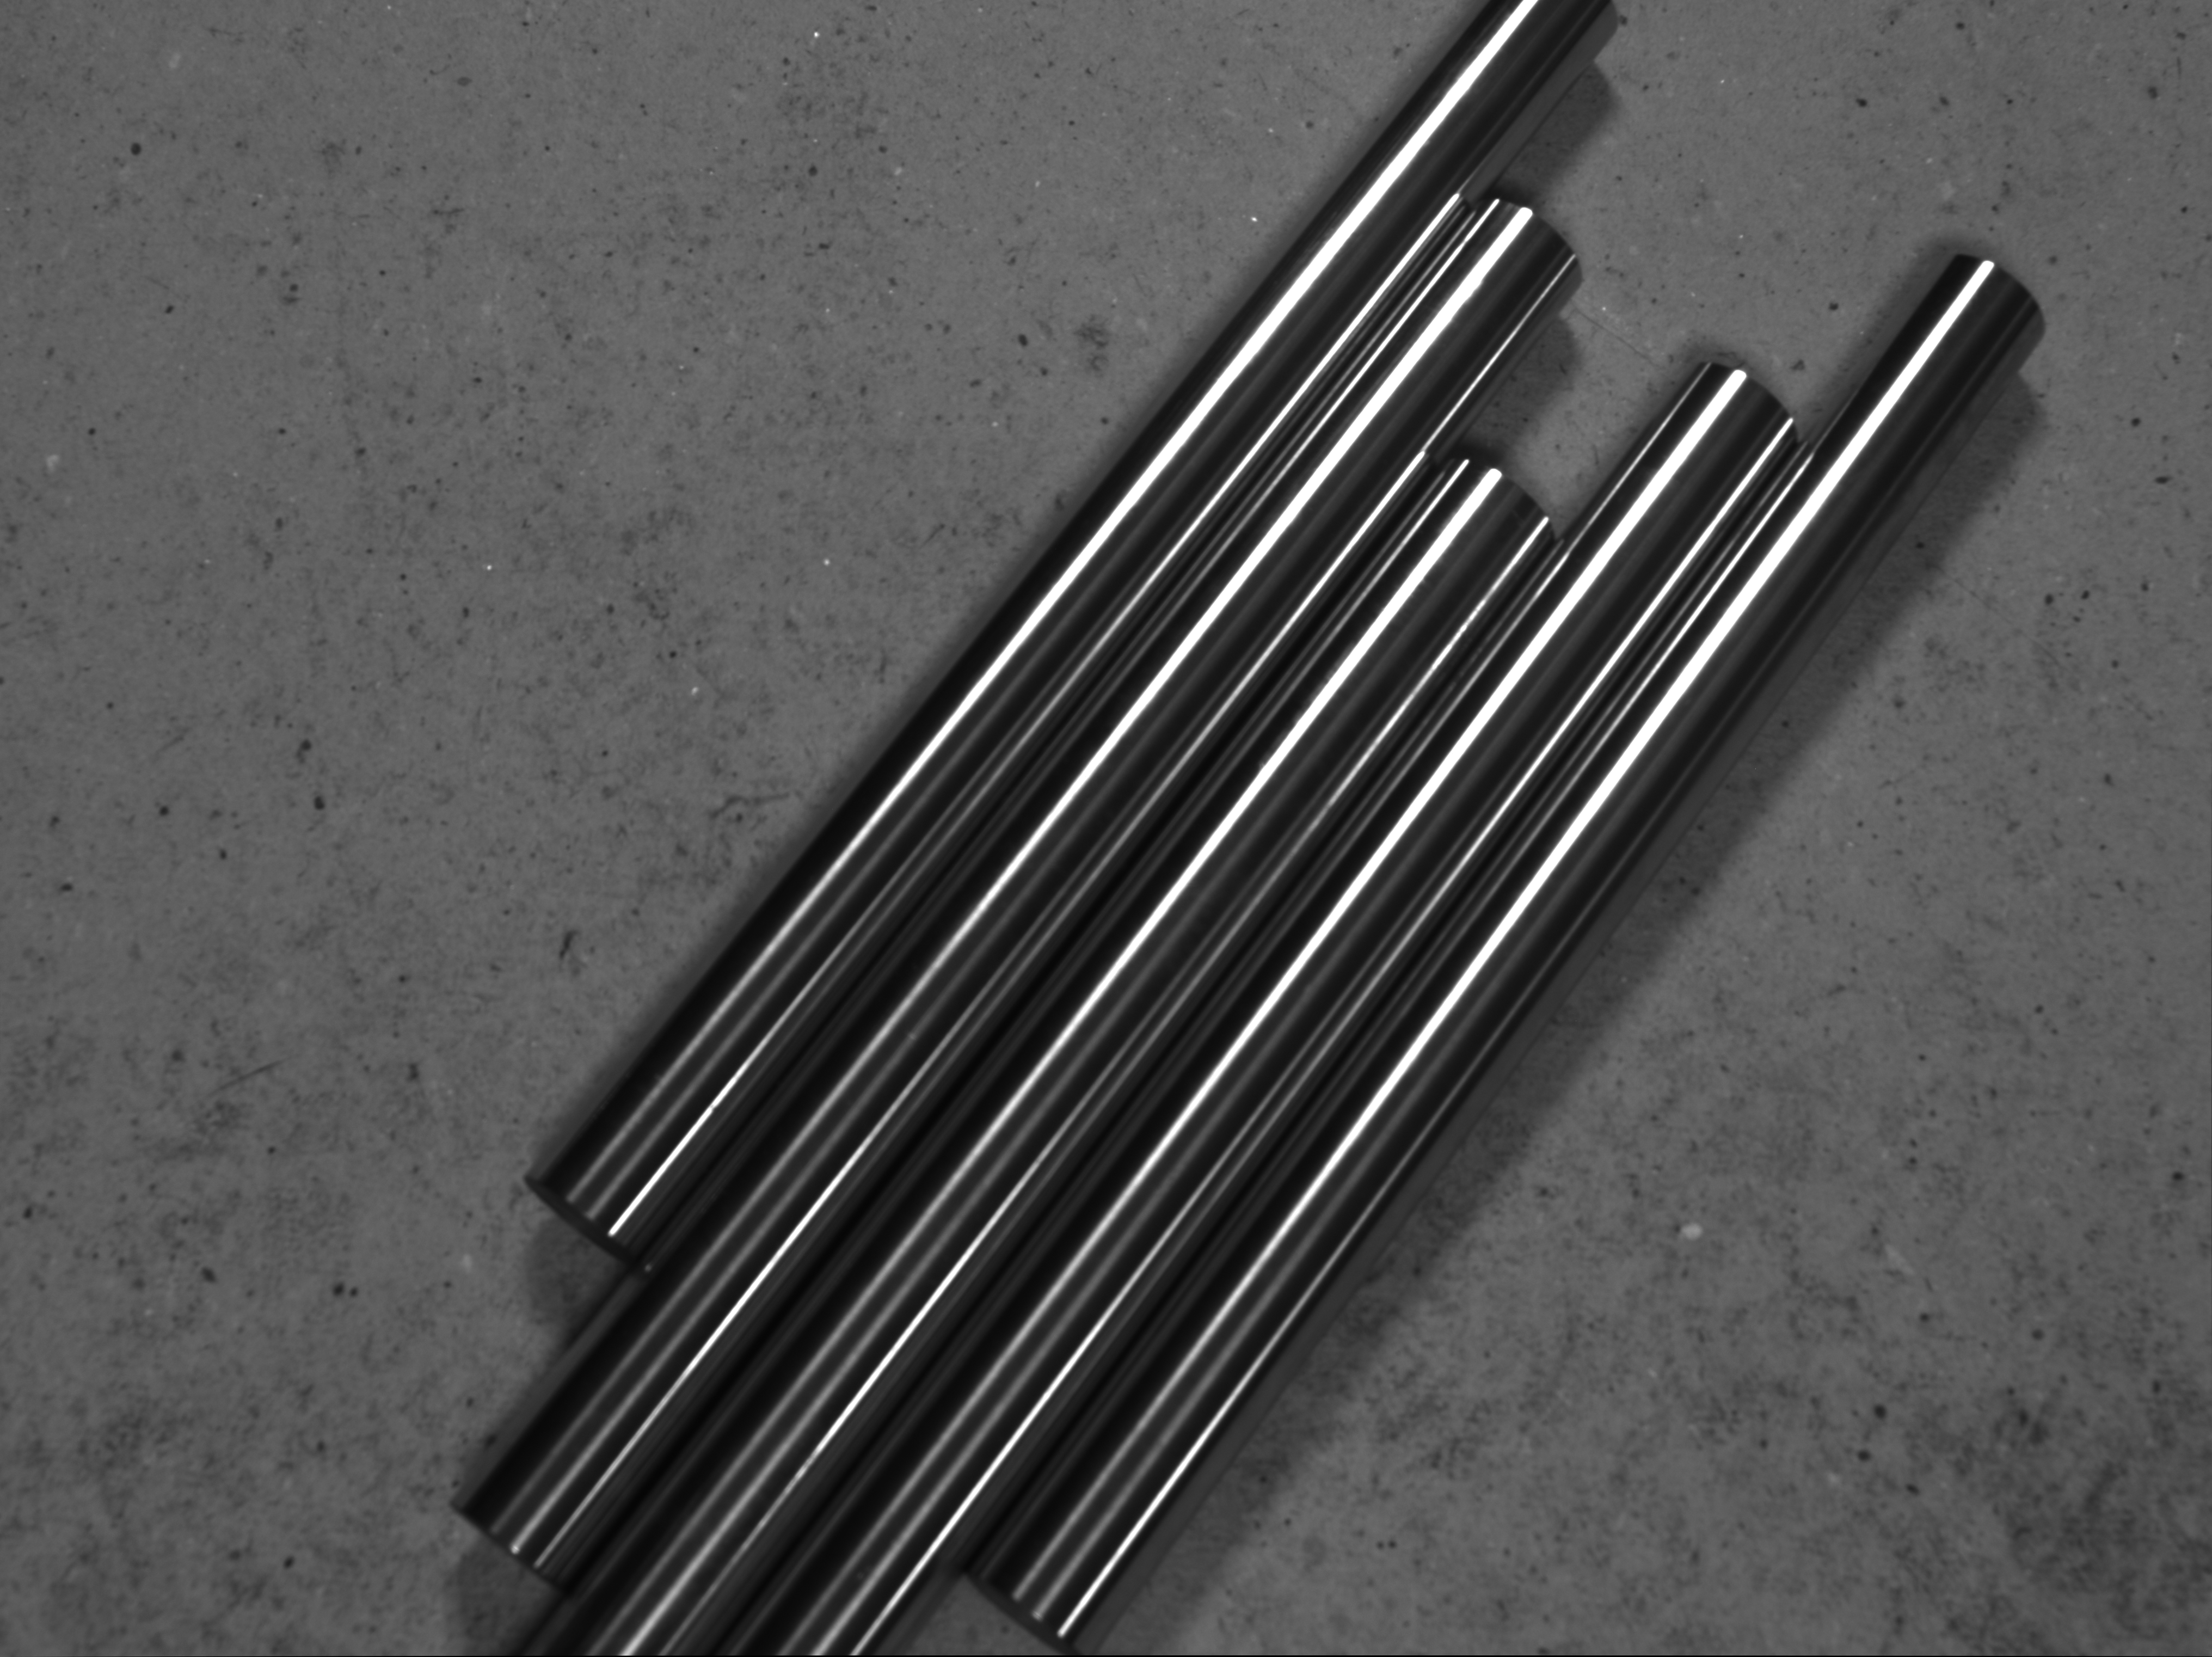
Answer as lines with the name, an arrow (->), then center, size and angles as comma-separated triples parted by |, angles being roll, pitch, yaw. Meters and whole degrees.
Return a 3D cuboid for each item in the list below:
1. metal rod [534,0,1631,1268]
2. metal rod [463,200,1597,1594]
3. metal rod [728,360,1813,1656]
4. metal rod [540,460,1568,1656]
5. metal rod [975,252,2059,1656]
metal rod -> 0.002, -0.046, 0.662 | 0.025, 0.025, 0.300 | 34, 74, 12
metal rod -> -0.007, 0.005, 0.643 | 0.025, 0.025, 0.300 | 34, 73, 12
metal rod -> 0.030, 0.037, 0.631 | 0.025, 0.025, 0.300 | 34, 74, 12
metal rod -> -0.015, 0.055, 0.625 | 0.025, 0.025, 0.300 | 34, 73, 12
metal rod -> 0.077, 0.016, 0.639 | 0.025, 0.025, 0.300 | 34, 74, 12
